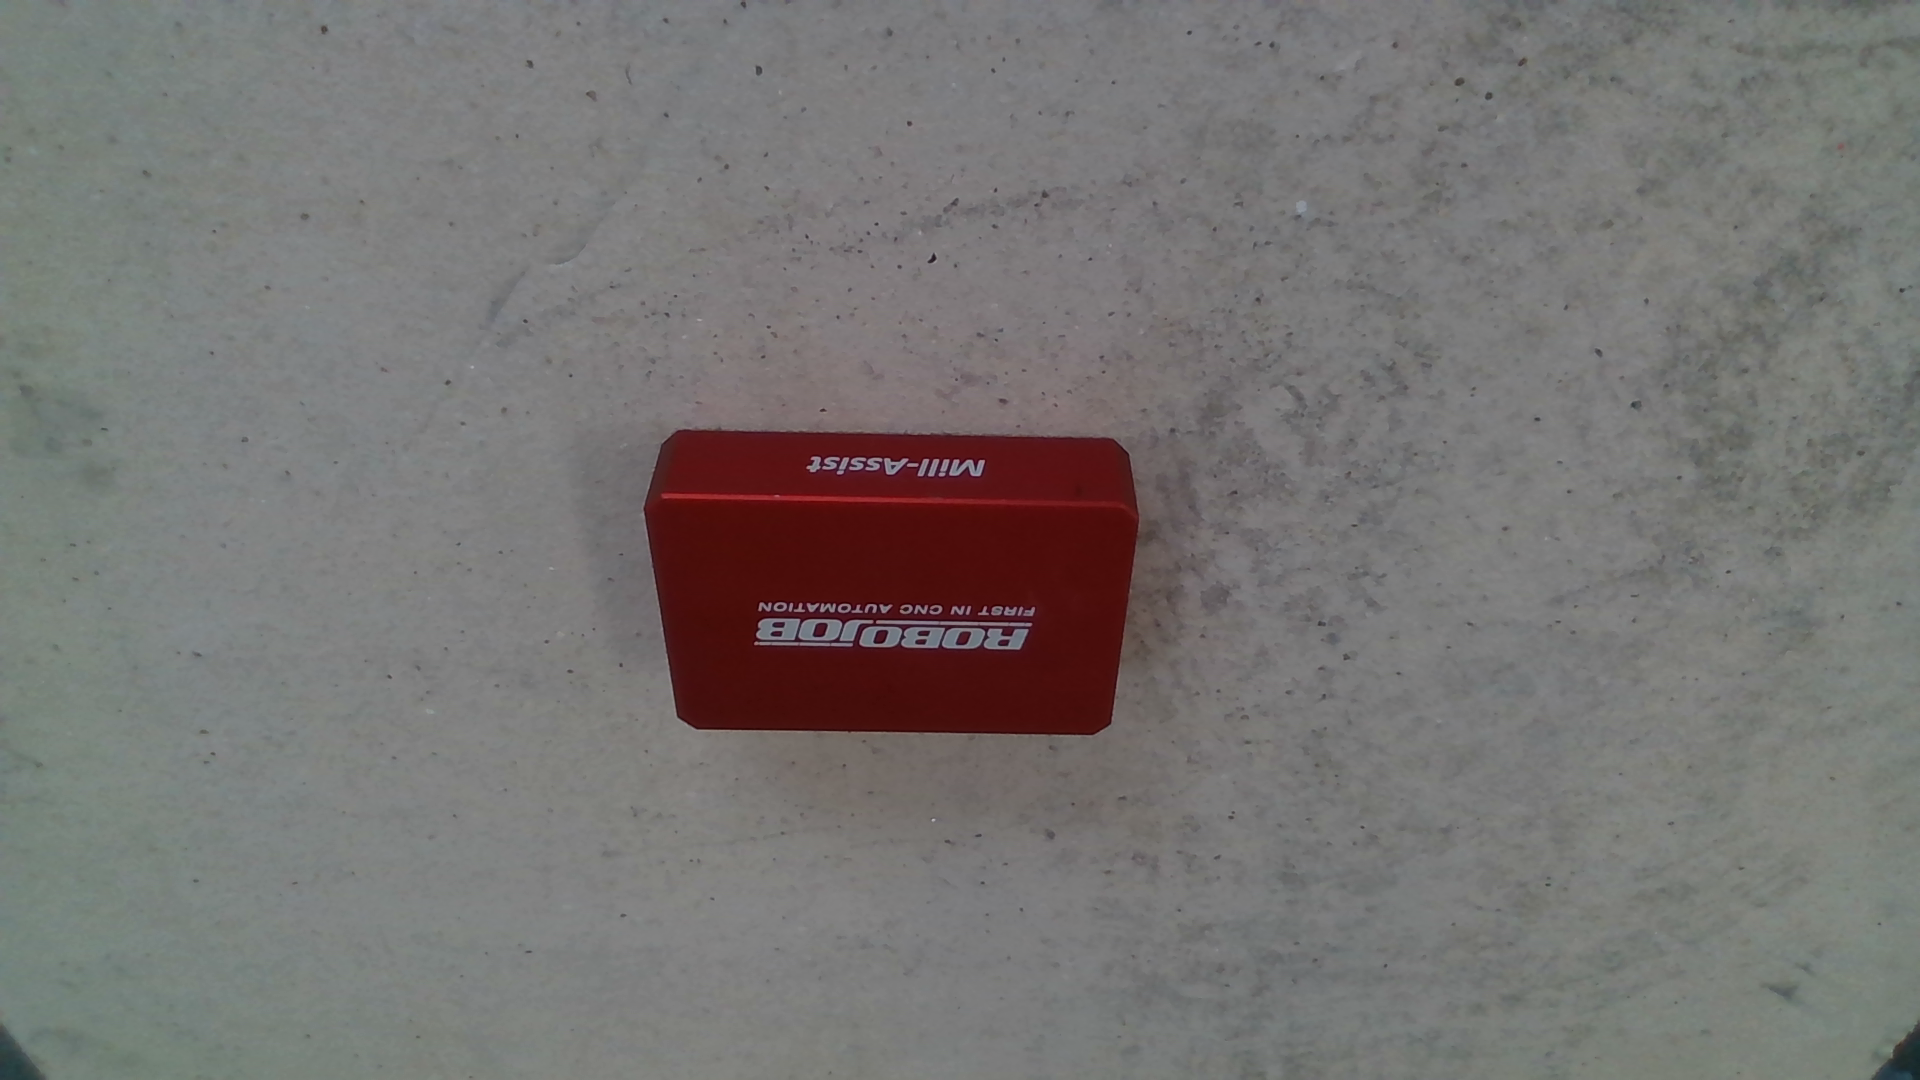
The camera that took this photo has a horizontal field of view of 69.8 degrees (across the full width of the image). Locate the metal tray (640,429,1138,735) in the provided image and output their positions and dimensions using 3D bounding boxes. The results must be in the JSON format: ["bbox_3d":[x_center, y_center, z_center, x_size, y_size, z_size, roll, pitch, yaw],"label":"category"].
[{"bbox_3d":[-0.019,0.014,0.396,0.130,0.030,0.090,1,131,0],"label":"metal tray"}]
